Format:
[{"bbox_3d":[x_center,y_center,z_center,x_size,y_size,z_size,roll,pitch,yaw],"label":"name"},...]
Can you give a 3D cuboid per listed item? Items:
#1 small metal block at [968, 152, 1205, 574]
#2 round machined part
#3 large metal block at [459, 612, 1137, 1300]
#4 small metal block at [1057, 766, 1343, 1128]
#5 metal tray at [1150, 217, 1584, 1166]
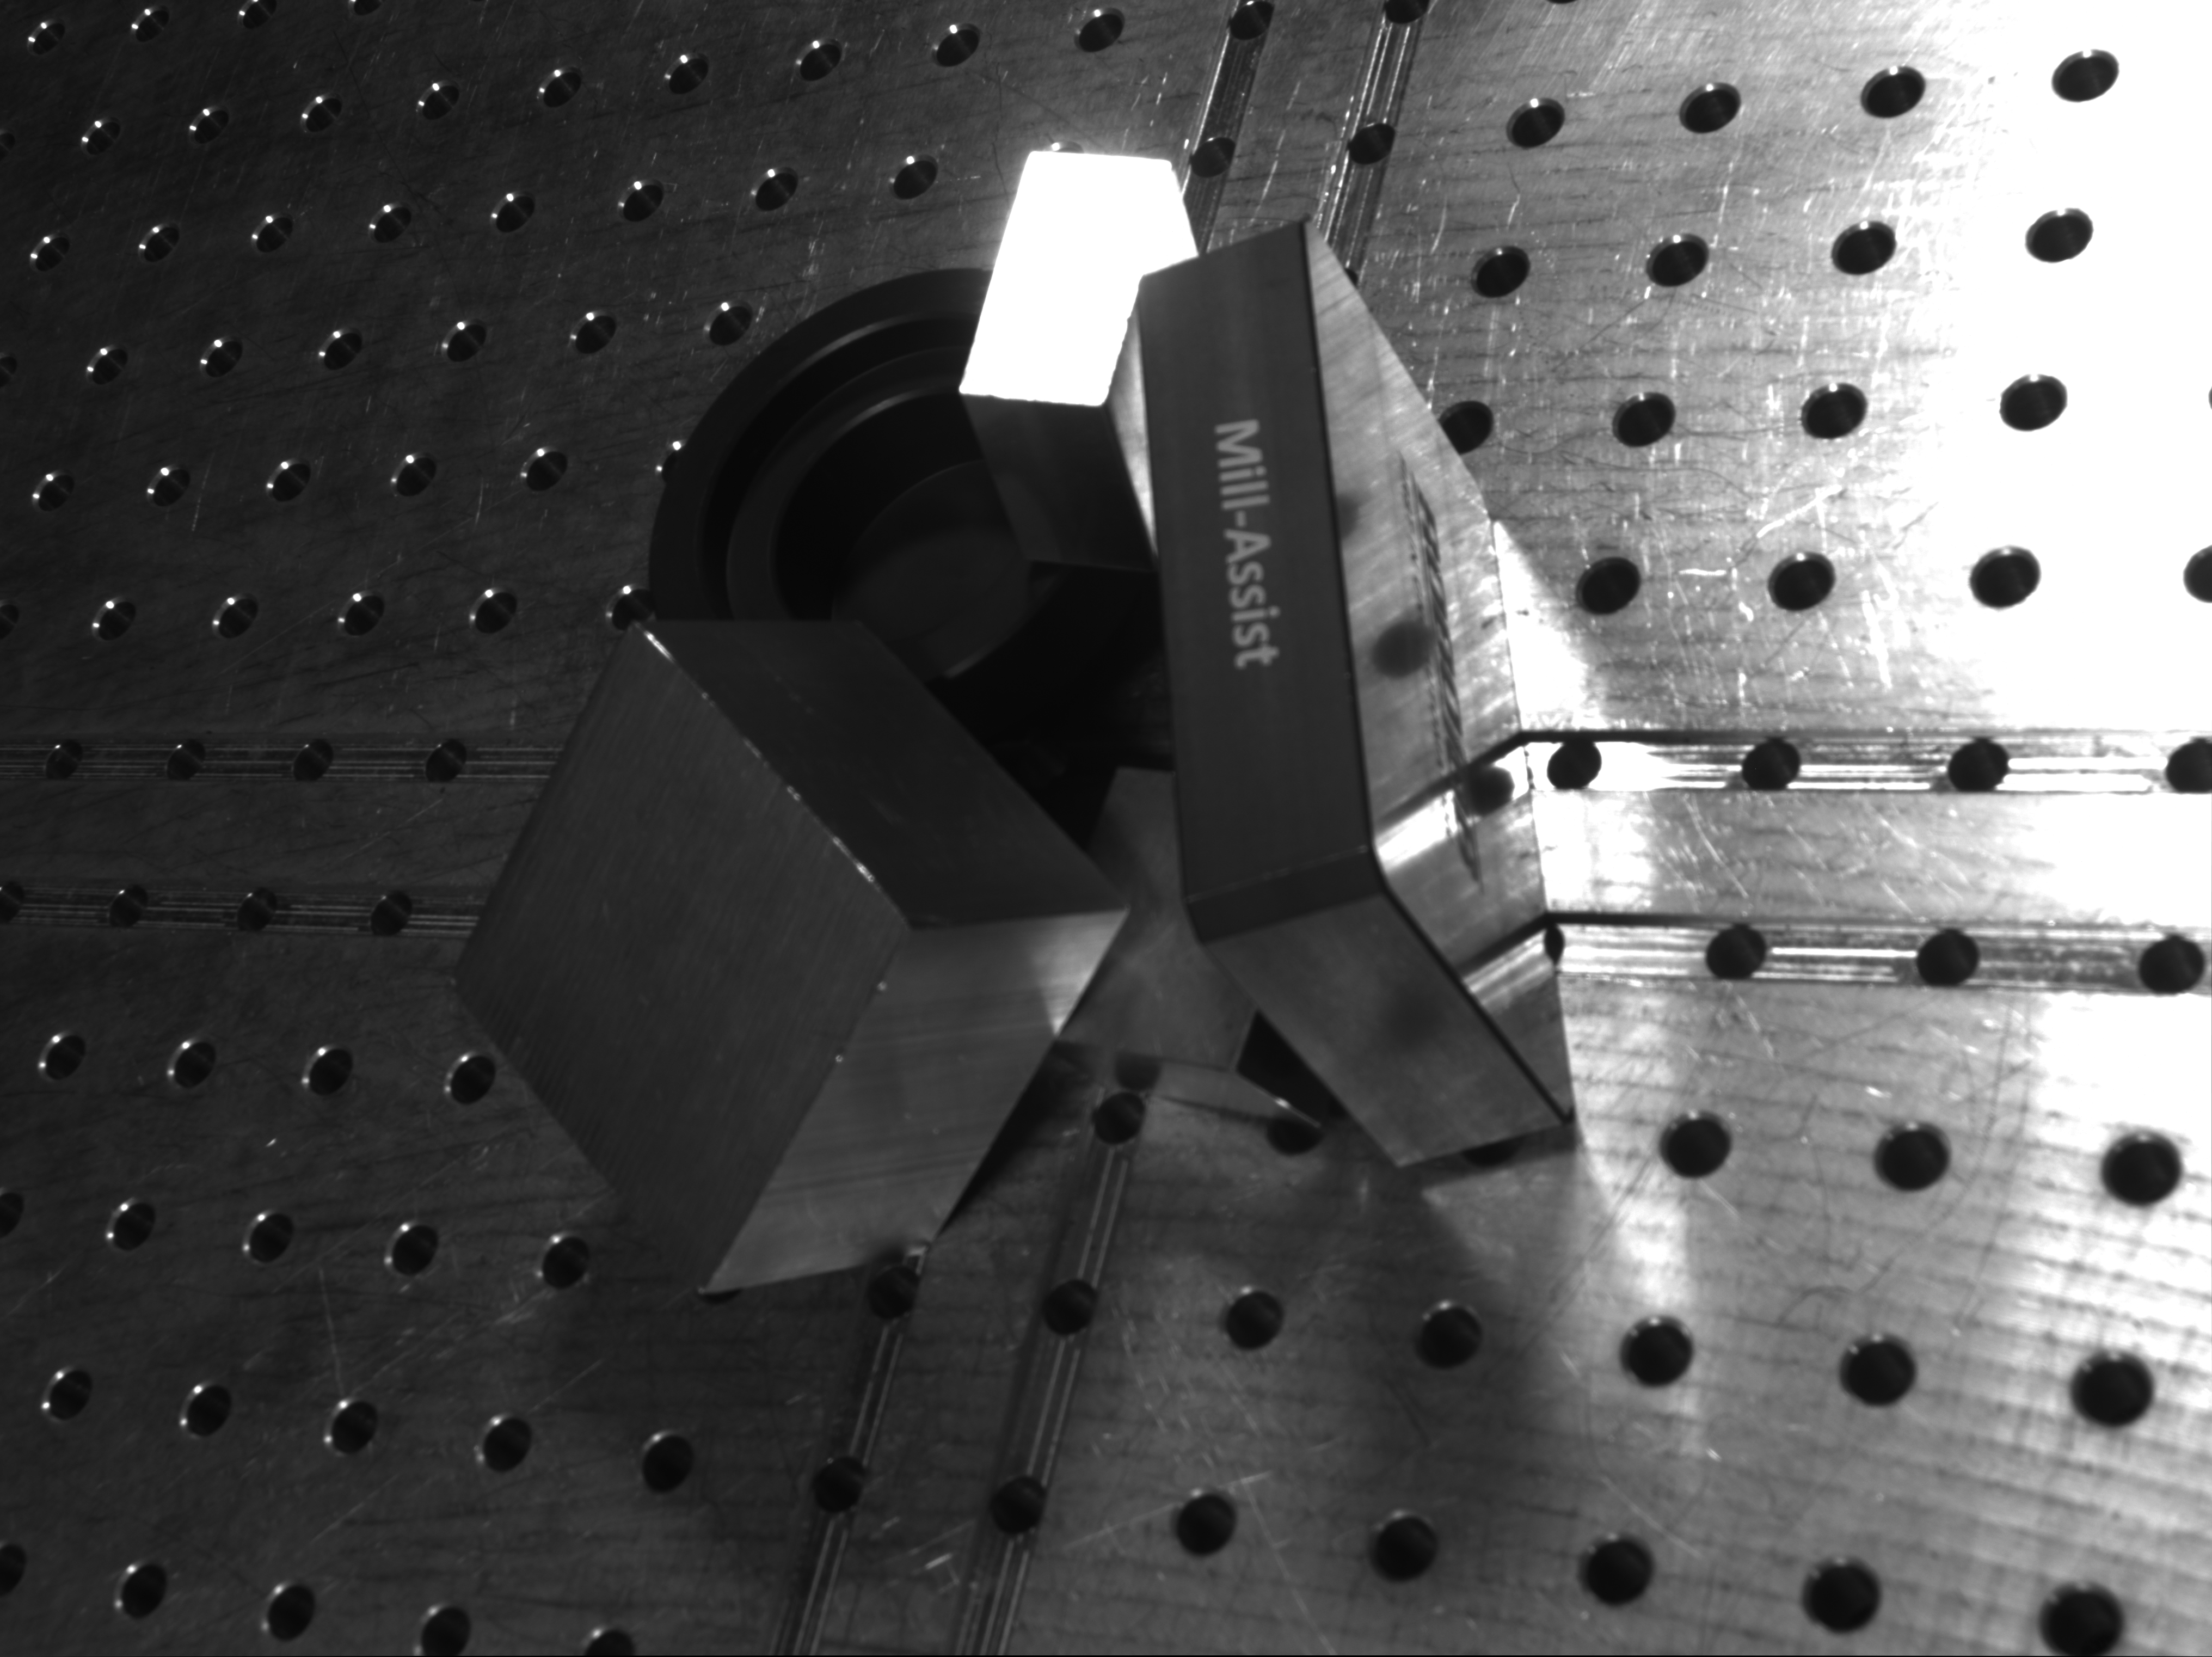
[{"bbox_3d":[0.000,-0.079,0.627,0.025,0.050,0.050,7,63,16],"label":"small metal block"},{"bbox_3d":[-0.031,-0.053,0.686,0.098,0.042,0.098,-13,56,21],"label":"round machined part"},{"bbox_3d":[-0.054,0.020,0.619,0.080,0.050,0.080,46,120,29],"label":"large metal block"},{"bbox_3d":[0.021,0.019,0.618,0.050,0.025,0.050,7,69,44],"label":"small metal block"},{"bbox_3d":[0.042,-0.022,0.596,0.030,0.090,0.130,-16,55,19],"label":"metal tray"}]
